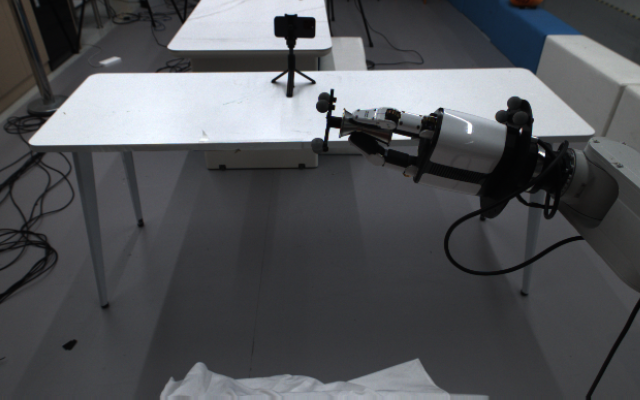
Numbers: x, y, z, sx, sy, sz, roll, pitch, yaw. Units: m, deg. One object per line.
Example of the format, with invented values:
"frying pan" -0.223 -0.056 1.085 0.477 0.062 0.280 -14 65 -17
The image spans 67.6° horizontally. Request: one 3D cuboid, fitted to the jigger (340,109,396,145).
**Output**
"jigger" 0.069 -0.101 0.650 0.071 0.043 0.043 8 35 1
